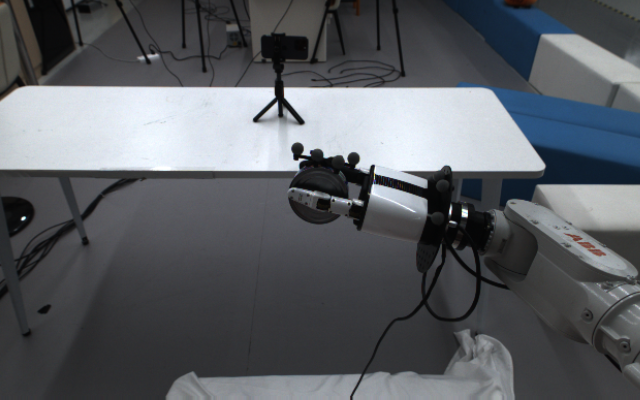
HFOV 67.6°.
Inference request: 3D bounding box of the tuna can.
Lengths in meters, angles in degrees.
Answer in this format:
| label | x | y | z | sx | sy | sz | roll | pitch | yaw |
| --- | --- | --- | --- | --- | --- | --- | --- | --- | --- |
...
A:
| label | x | y | z | sx | sy | sz | roll | pitch | yaw |
| --- | --- | --- | --- | --- | --- | --- | --- | --- | --- |
| tuna can | 0.000 | -0.011 | 0.696 | 0.085 | 0.085 | 0.034 | 5 | 18 | 4 |
